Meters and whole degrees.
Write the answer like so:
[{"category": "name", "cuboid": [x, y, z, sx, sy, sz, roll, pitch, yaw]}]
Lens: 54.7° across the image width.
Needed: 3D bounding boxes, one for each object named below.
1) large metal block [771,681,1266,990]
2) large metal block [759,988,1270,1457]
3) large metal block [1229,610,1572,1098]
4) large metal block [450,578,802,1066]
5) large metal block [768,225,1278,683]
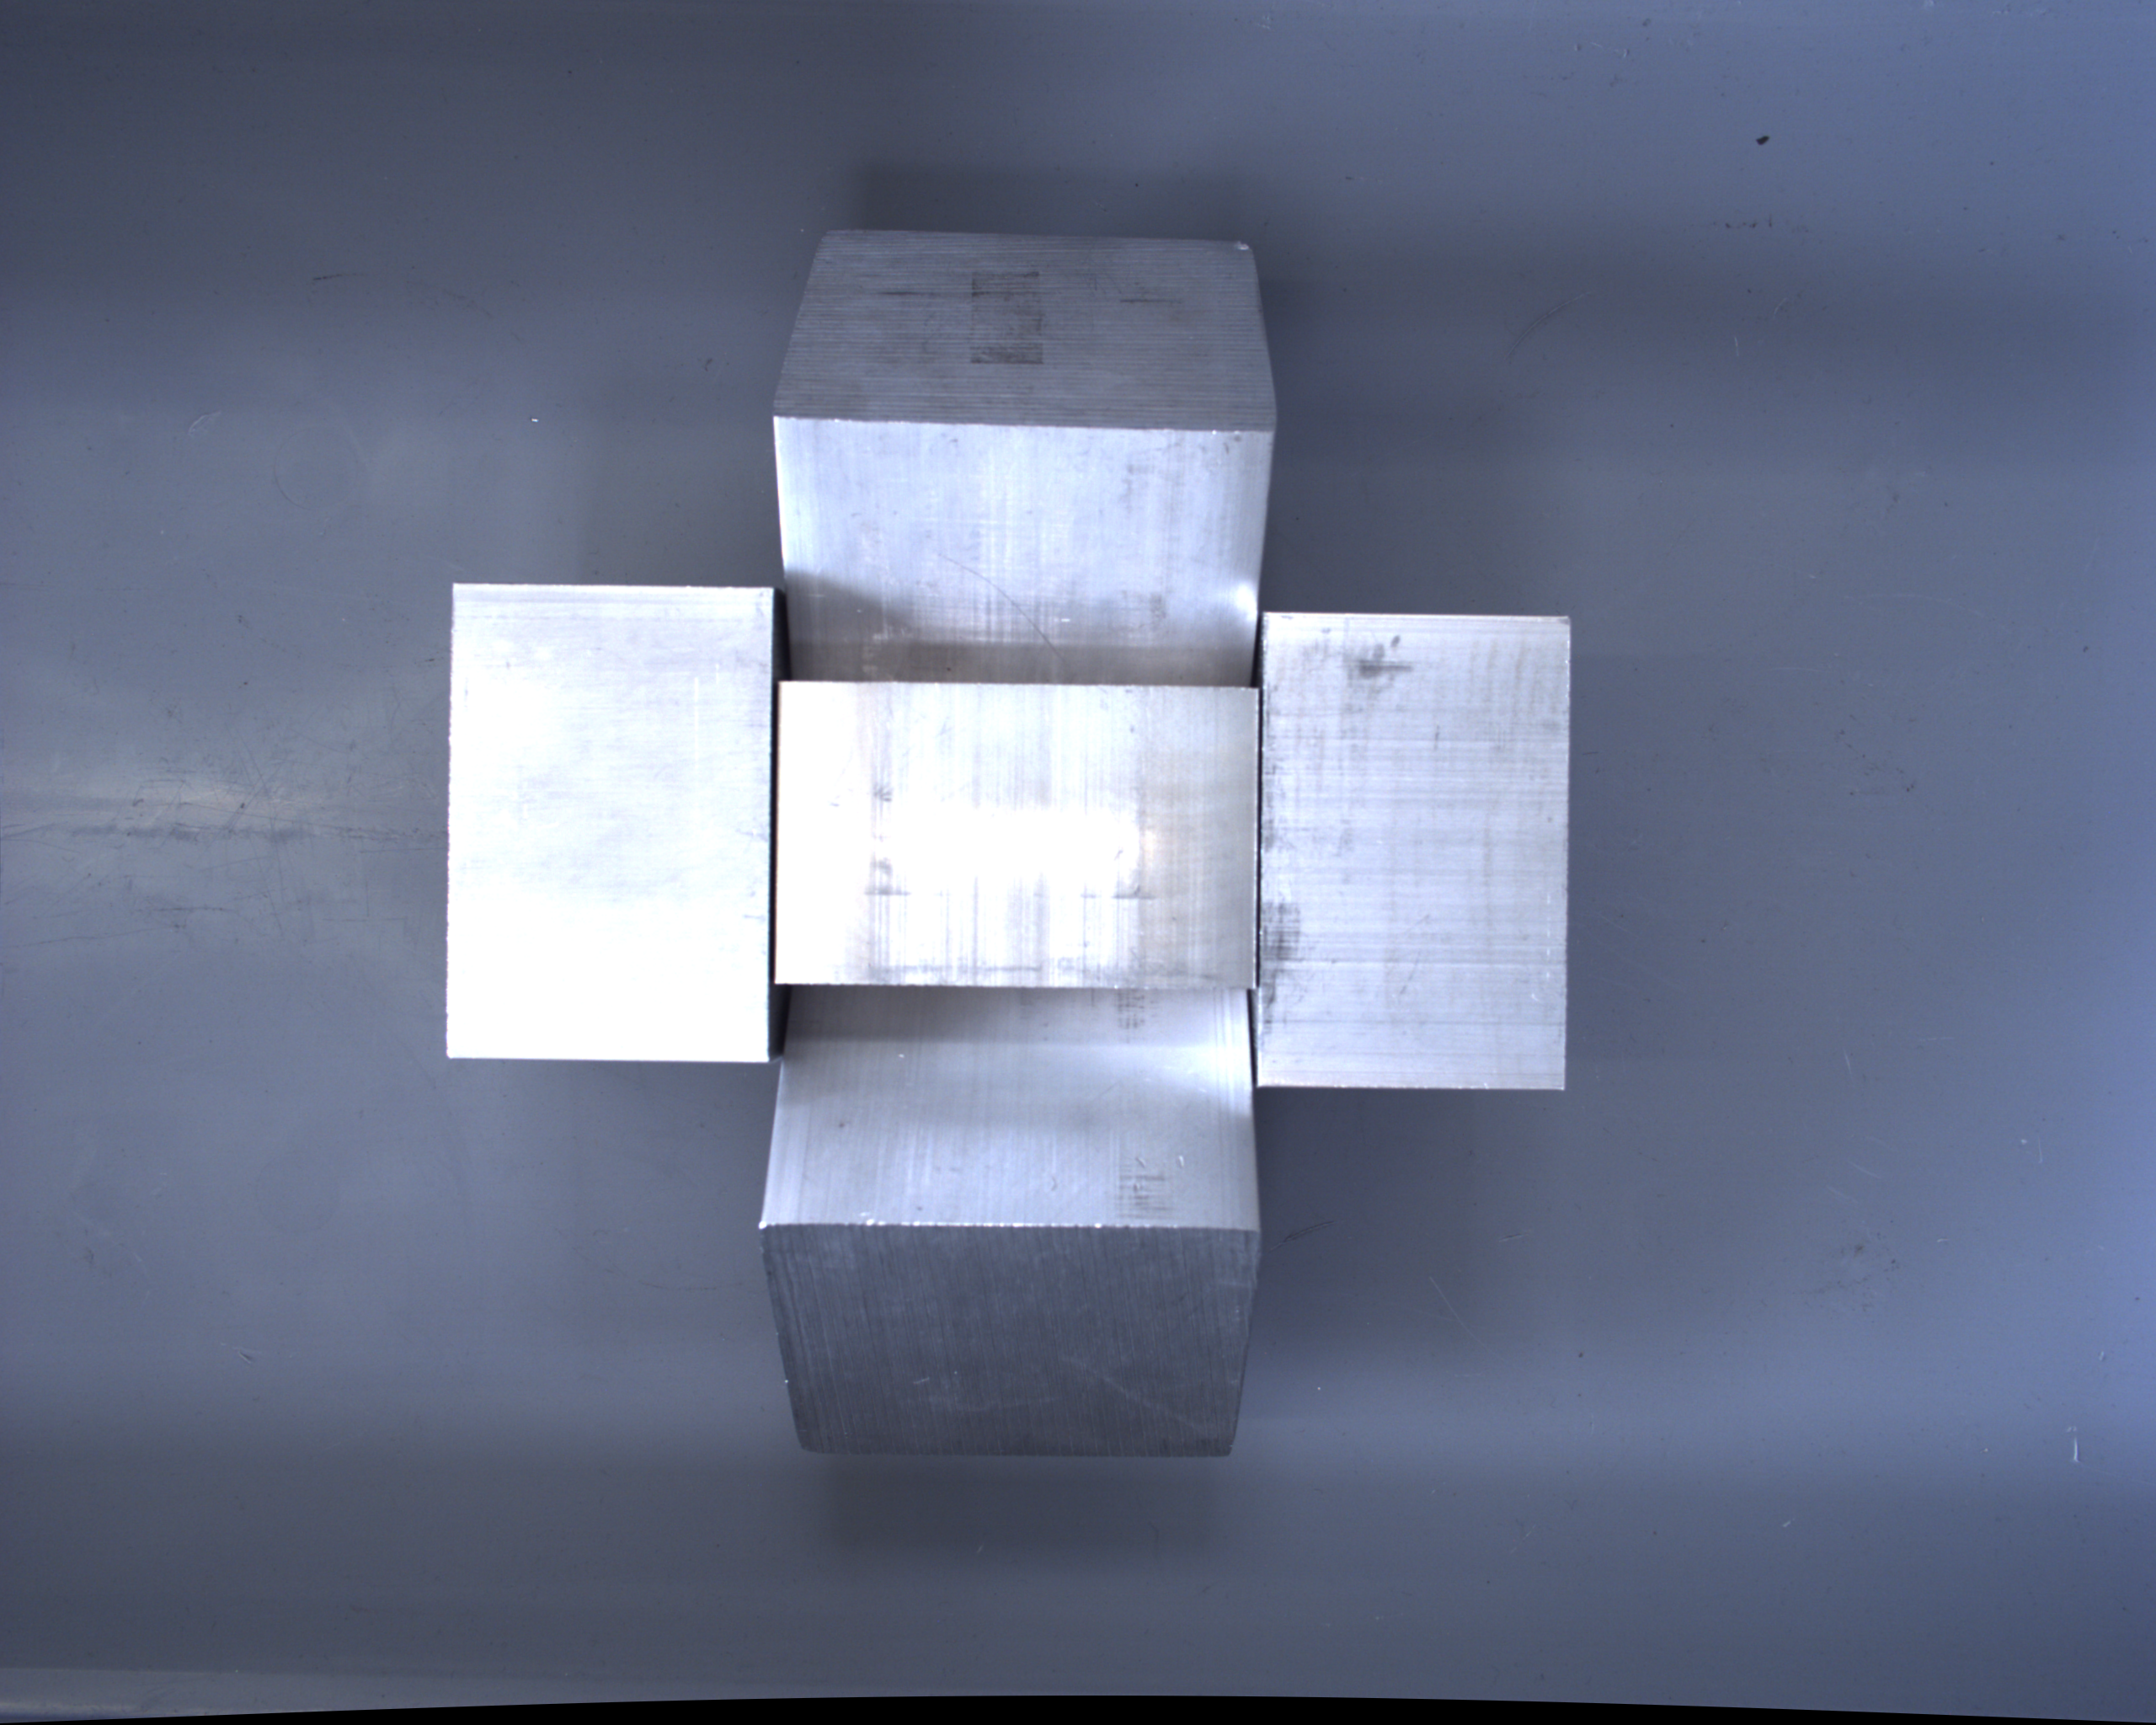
[{"category": "large metal block", "cuboid": [-0.010, -0.005, 0.383, 0.081, 0.080, 0.050, 1, 90, 0]}, {"category": "large metal block", "cuboid": [-0.011, 0.066, 0.376, 0.081, 0.080, 0.050, 1, 48, -1]}, {"category": "large metal block", "cuboid": [0.056, -0.002, 0.383, 0.050, 0.080, 0.080, 1, 90, 0]}, {"category": "large metal block", "cuboid": [-0.077, -0.007, 0.382, 0.050, 0.080, 0.080, 1, 90, 0]}, {"category": "large metal block", "cuboid": [-0.009, -0.075, 0.376, 0.081, 0.080, 0.050, 2, 128, 0]}]
